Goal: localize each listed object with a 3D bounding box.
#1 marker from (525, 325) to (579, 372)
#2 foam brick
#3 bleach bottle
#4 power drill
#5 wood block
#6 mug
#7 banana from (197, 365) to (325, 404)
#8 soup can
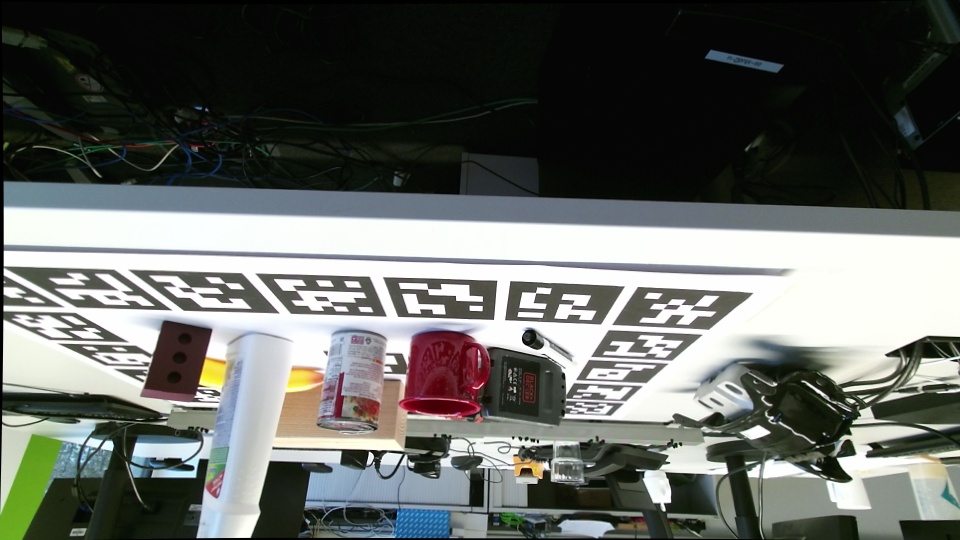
[{"bbox_3d":[0.084,0.092,0.621,0.020,0.019,0.121,-16,146,26],"label":"marker"},{"bbox_3d":[-0.346,0.100,0.606,0.053,0.077,0.051,17,150,-30],"label":"foam brick"},{"bbox_3d":[-0.270,0.202,0.605,0.068,0.249,0.103,16,150,-25],"label":"bleach bottle"},{"bbox_3d":[0.015,0.175,0.746,0.185,0.057,0.187,19,149,-23],"label":"power drill"},{"bbox_3d":[-0.221,0.223,0.812,0.207,0.090,0.090,1,151,2],"label":"wood block"},{"bbox_3d":[-0.033,0.120,0.609,0.093,0.081,0.117,28,140,-35],"label":"mug"},{"bbox_3d":[-0.302,0.159,0.745,0.198,0.038,0.074,11,137,-12],"label":"banana"},{"bbox_3d":[-0.142,0.132,0.608,0.068,0.101,0.068,3,156,2],"label":"soup can"}]
